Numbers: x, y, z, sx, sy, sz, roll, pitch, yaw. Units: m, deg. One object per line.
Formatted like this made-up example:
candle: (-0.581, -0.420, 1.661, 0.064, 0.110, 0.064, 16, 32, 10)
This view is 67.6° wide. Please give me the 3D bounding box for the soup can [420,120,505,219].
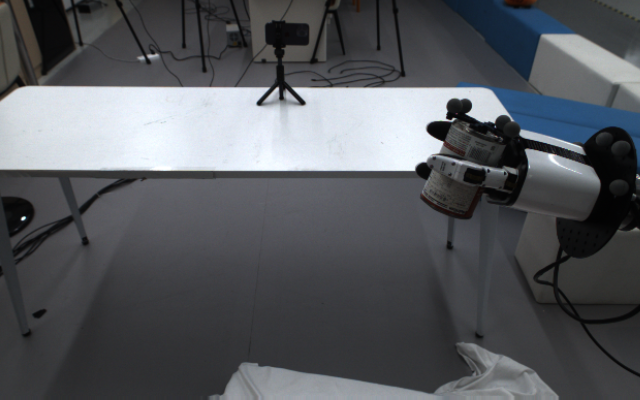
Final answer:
soup can: (0.172, -0.038, 0.580, 0.067, 0.101, 0.067, 17, 21, -7)
